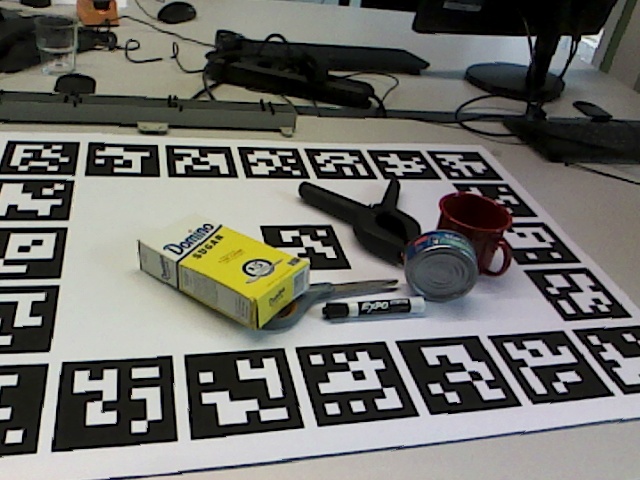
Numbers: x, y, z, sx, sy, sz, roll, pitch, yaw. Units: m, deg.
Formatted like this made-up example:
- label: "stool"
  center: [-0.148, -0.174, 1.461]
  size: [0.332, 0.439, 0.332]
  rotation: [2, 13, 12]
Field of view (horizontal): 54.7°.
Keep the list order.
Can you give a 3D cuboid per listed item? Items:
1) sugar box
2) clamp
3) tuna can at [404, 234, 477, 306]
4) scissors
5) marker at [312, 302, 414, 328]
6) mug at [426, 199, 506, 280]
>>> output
- label: "sugar box"
  center: [-0.109, 0.035, 0.705]
  size: [0.177, 0.045, 0.092]
  rotation: [26, 37, 30]
- label: "clamp"
  center: [0.075, -0.020, 0.866]
  size: [0.164, 0.036, 0.204]
  rotation: [-7, 40, -25]
- label: "tuna can"
  center: [0.144, 0.038, 0.743]
  size: [0.086, 0.085, 0.034]
  rotation: [9, 35, -2]
- label: "scissors"
  center: [-0.004, 0.060, 0.726]
  size: [0.202, 0.016, 0.088]
  rotation: [-7, 35, -26]
- label: "marker"
  center: [0.050, 0.086, 0.707]
  size: [0.120, 0.019, 0.020]
  rotation: [-3, 38, -19]
- label: "mug"
  center: [0.188, 0.009, 0.804]
  size: [0.093, 0.081, 0.118]
  rotation: [-21, 42, -37]
